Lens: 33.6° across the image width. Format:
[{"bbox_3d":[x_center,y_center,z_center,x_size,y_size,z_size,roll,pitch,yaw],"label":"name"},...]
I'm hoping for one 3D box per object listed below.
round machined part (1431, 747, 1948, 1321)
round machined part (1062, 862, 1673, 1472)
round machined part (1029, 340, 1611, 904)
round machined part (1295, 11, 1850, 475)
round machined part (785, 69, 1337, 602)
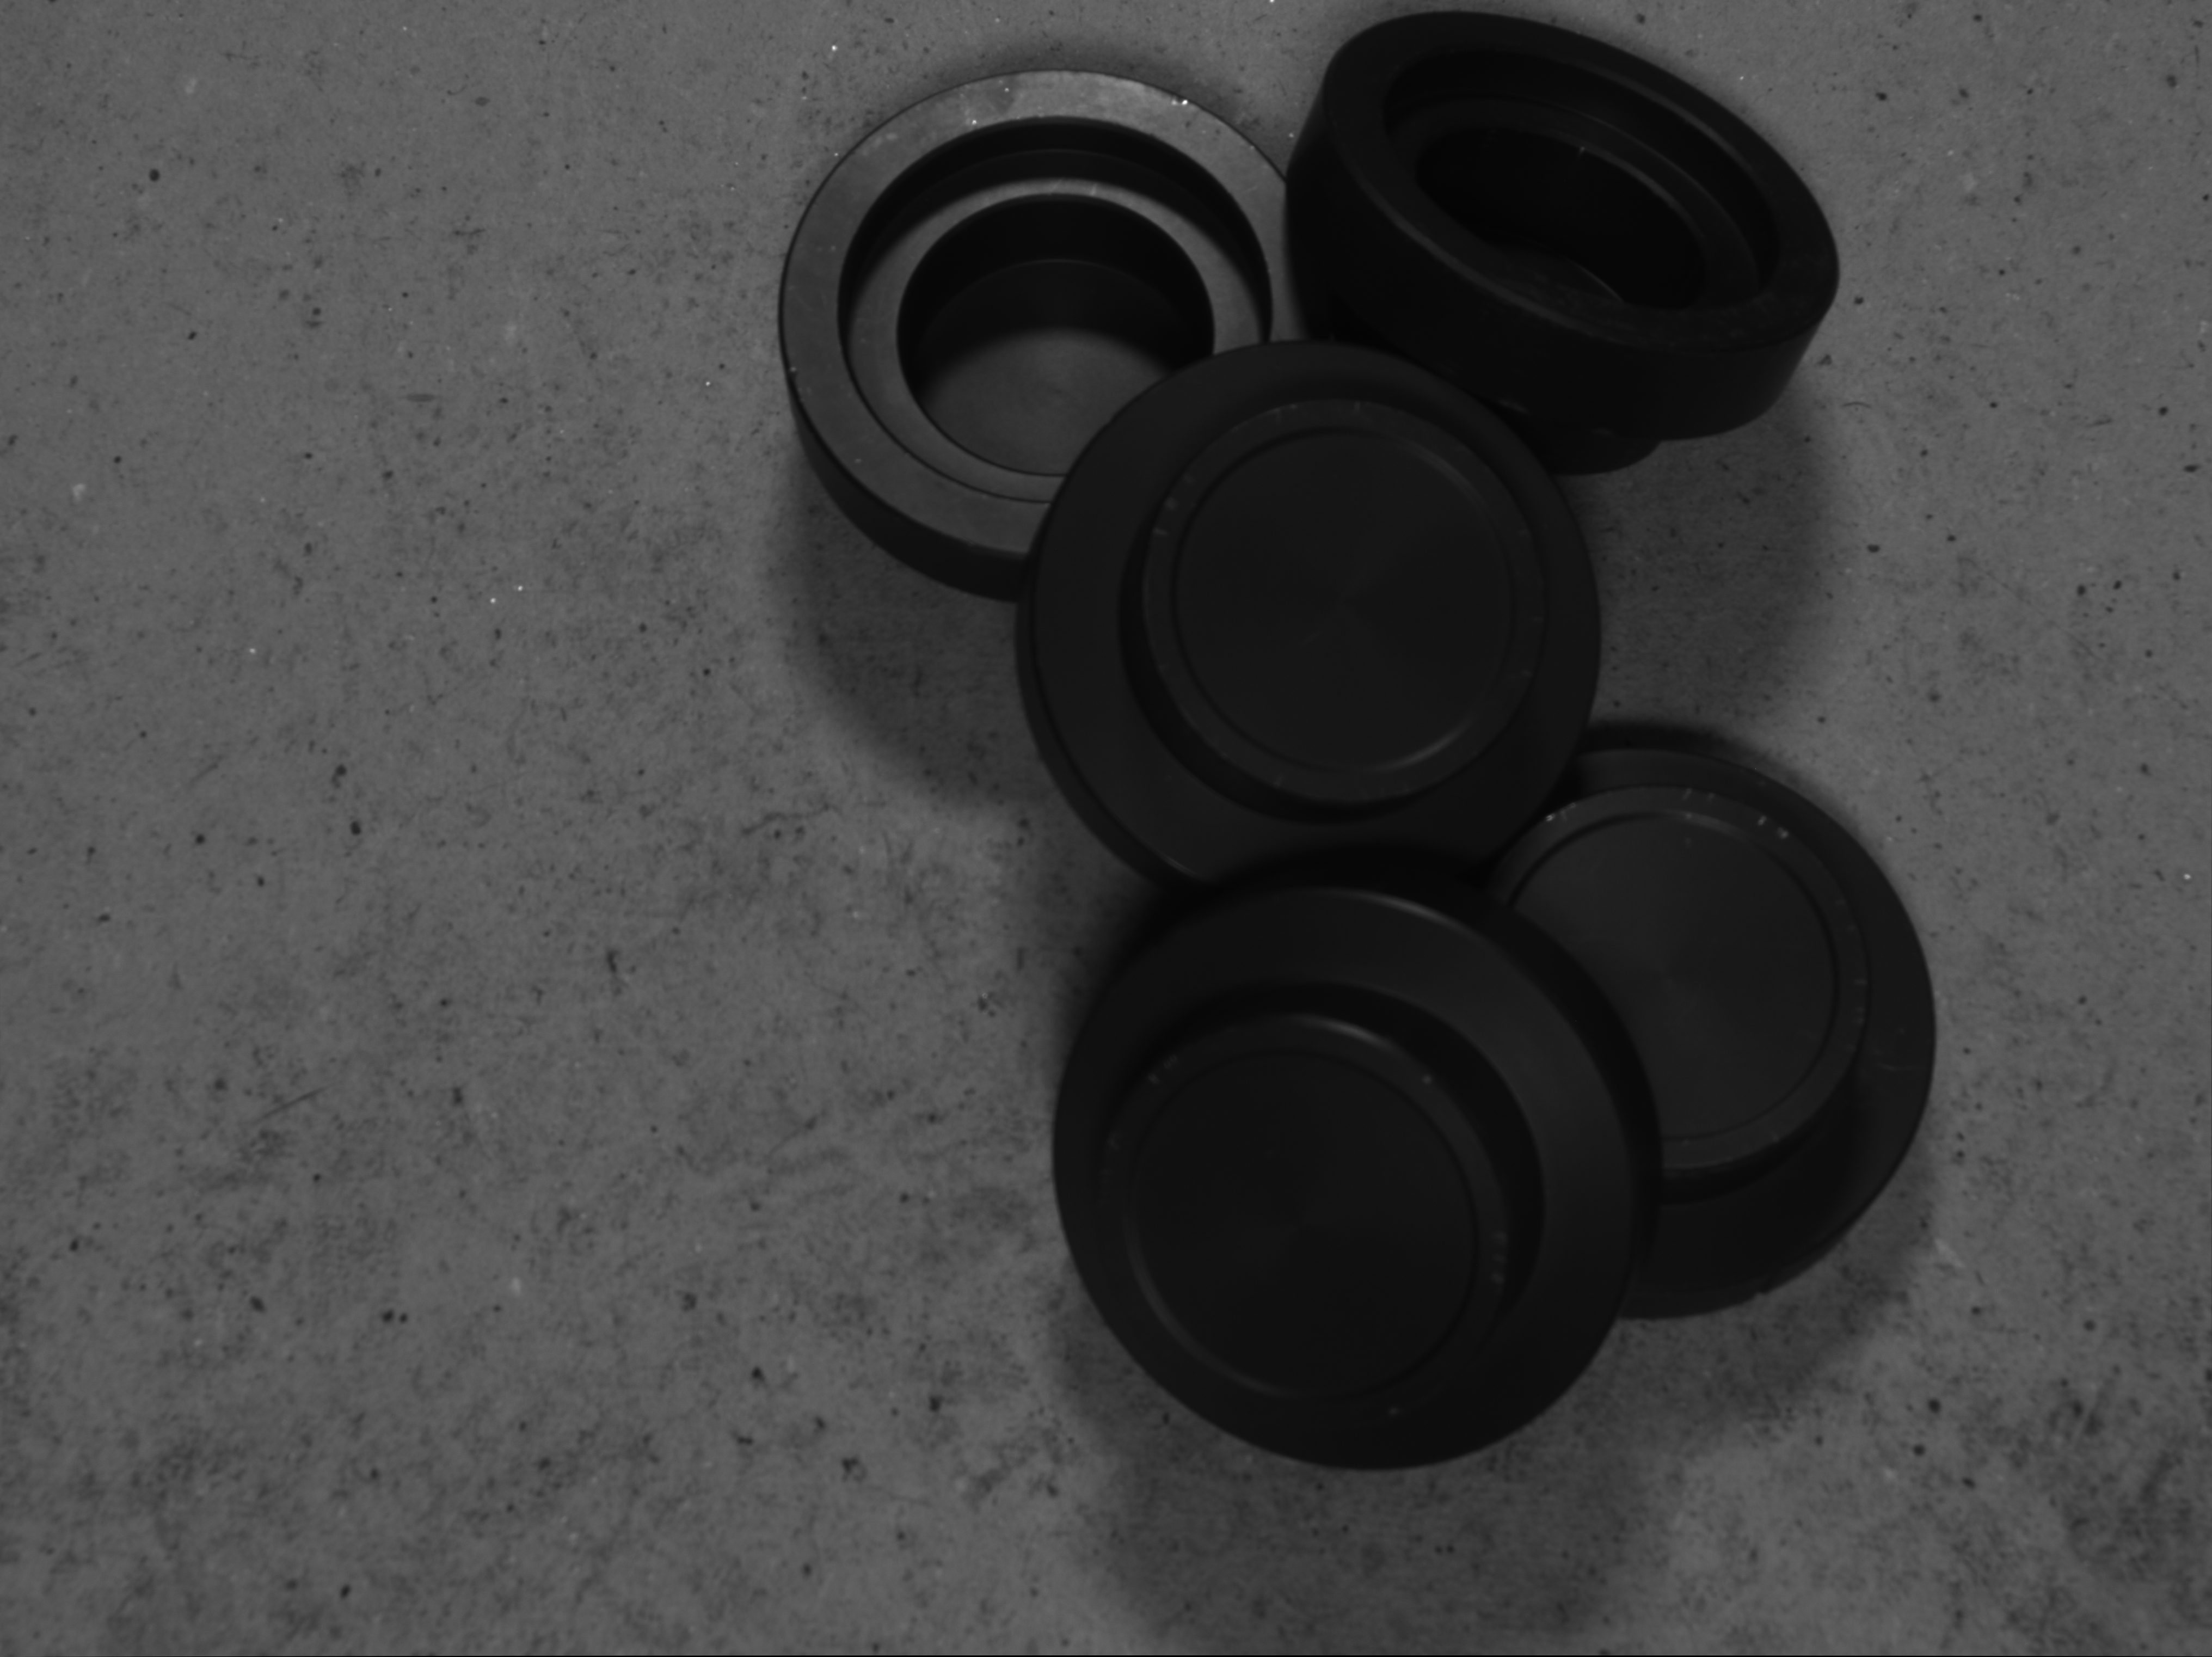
[{"bbox_3d":[0.095,0.031,0.624,0.098,0.042,0.098,0,70,0],"label":"round machined part"},{"bbox_3d":[0.038,0.058,0.588,0.098,0.042,0.098,5,104,19],"label":"round machined part"},{"bbox_3d":[0.037,-0.035,0.614,0.098,0.042,0.098,1,80,-8],"label":"round machined part"},{"bbox_3d":[0.080,-0.101,0.659,0.098,0.042,0.098,13,42,-12],"label":"round machined part"},{"bbox_3d":[-0.008,-0.085,0.667,0.098,0.042,0.098,0,70,0],"label":"round machined part"}]
